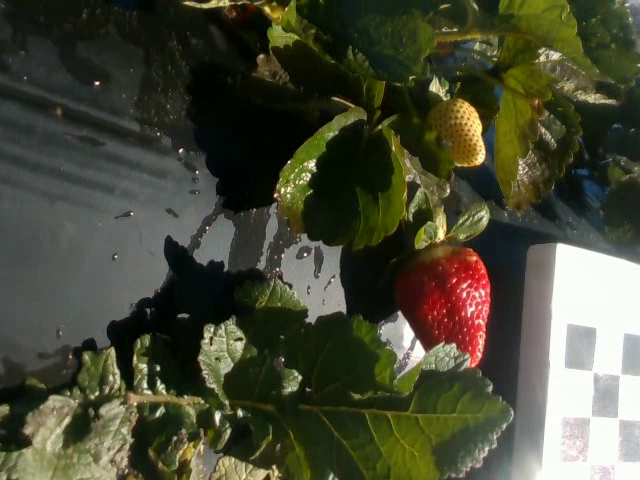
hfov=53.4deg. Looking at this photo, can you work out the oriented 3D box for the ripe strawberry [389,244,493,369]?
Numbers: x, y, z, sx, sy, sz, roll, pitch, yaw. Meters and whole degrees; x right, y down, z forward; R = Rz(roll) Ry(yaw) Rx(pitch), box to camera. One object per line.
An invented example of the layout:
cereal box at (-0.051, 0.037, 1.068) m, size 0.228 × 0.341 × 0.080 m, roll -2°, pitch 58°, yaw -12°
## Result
ripe strawberry at (0.063, 0.033, 0.300) m, size 0.048 × 0.069 × 0.040 m, roll -9°, pitch -5°, yaw -30°
